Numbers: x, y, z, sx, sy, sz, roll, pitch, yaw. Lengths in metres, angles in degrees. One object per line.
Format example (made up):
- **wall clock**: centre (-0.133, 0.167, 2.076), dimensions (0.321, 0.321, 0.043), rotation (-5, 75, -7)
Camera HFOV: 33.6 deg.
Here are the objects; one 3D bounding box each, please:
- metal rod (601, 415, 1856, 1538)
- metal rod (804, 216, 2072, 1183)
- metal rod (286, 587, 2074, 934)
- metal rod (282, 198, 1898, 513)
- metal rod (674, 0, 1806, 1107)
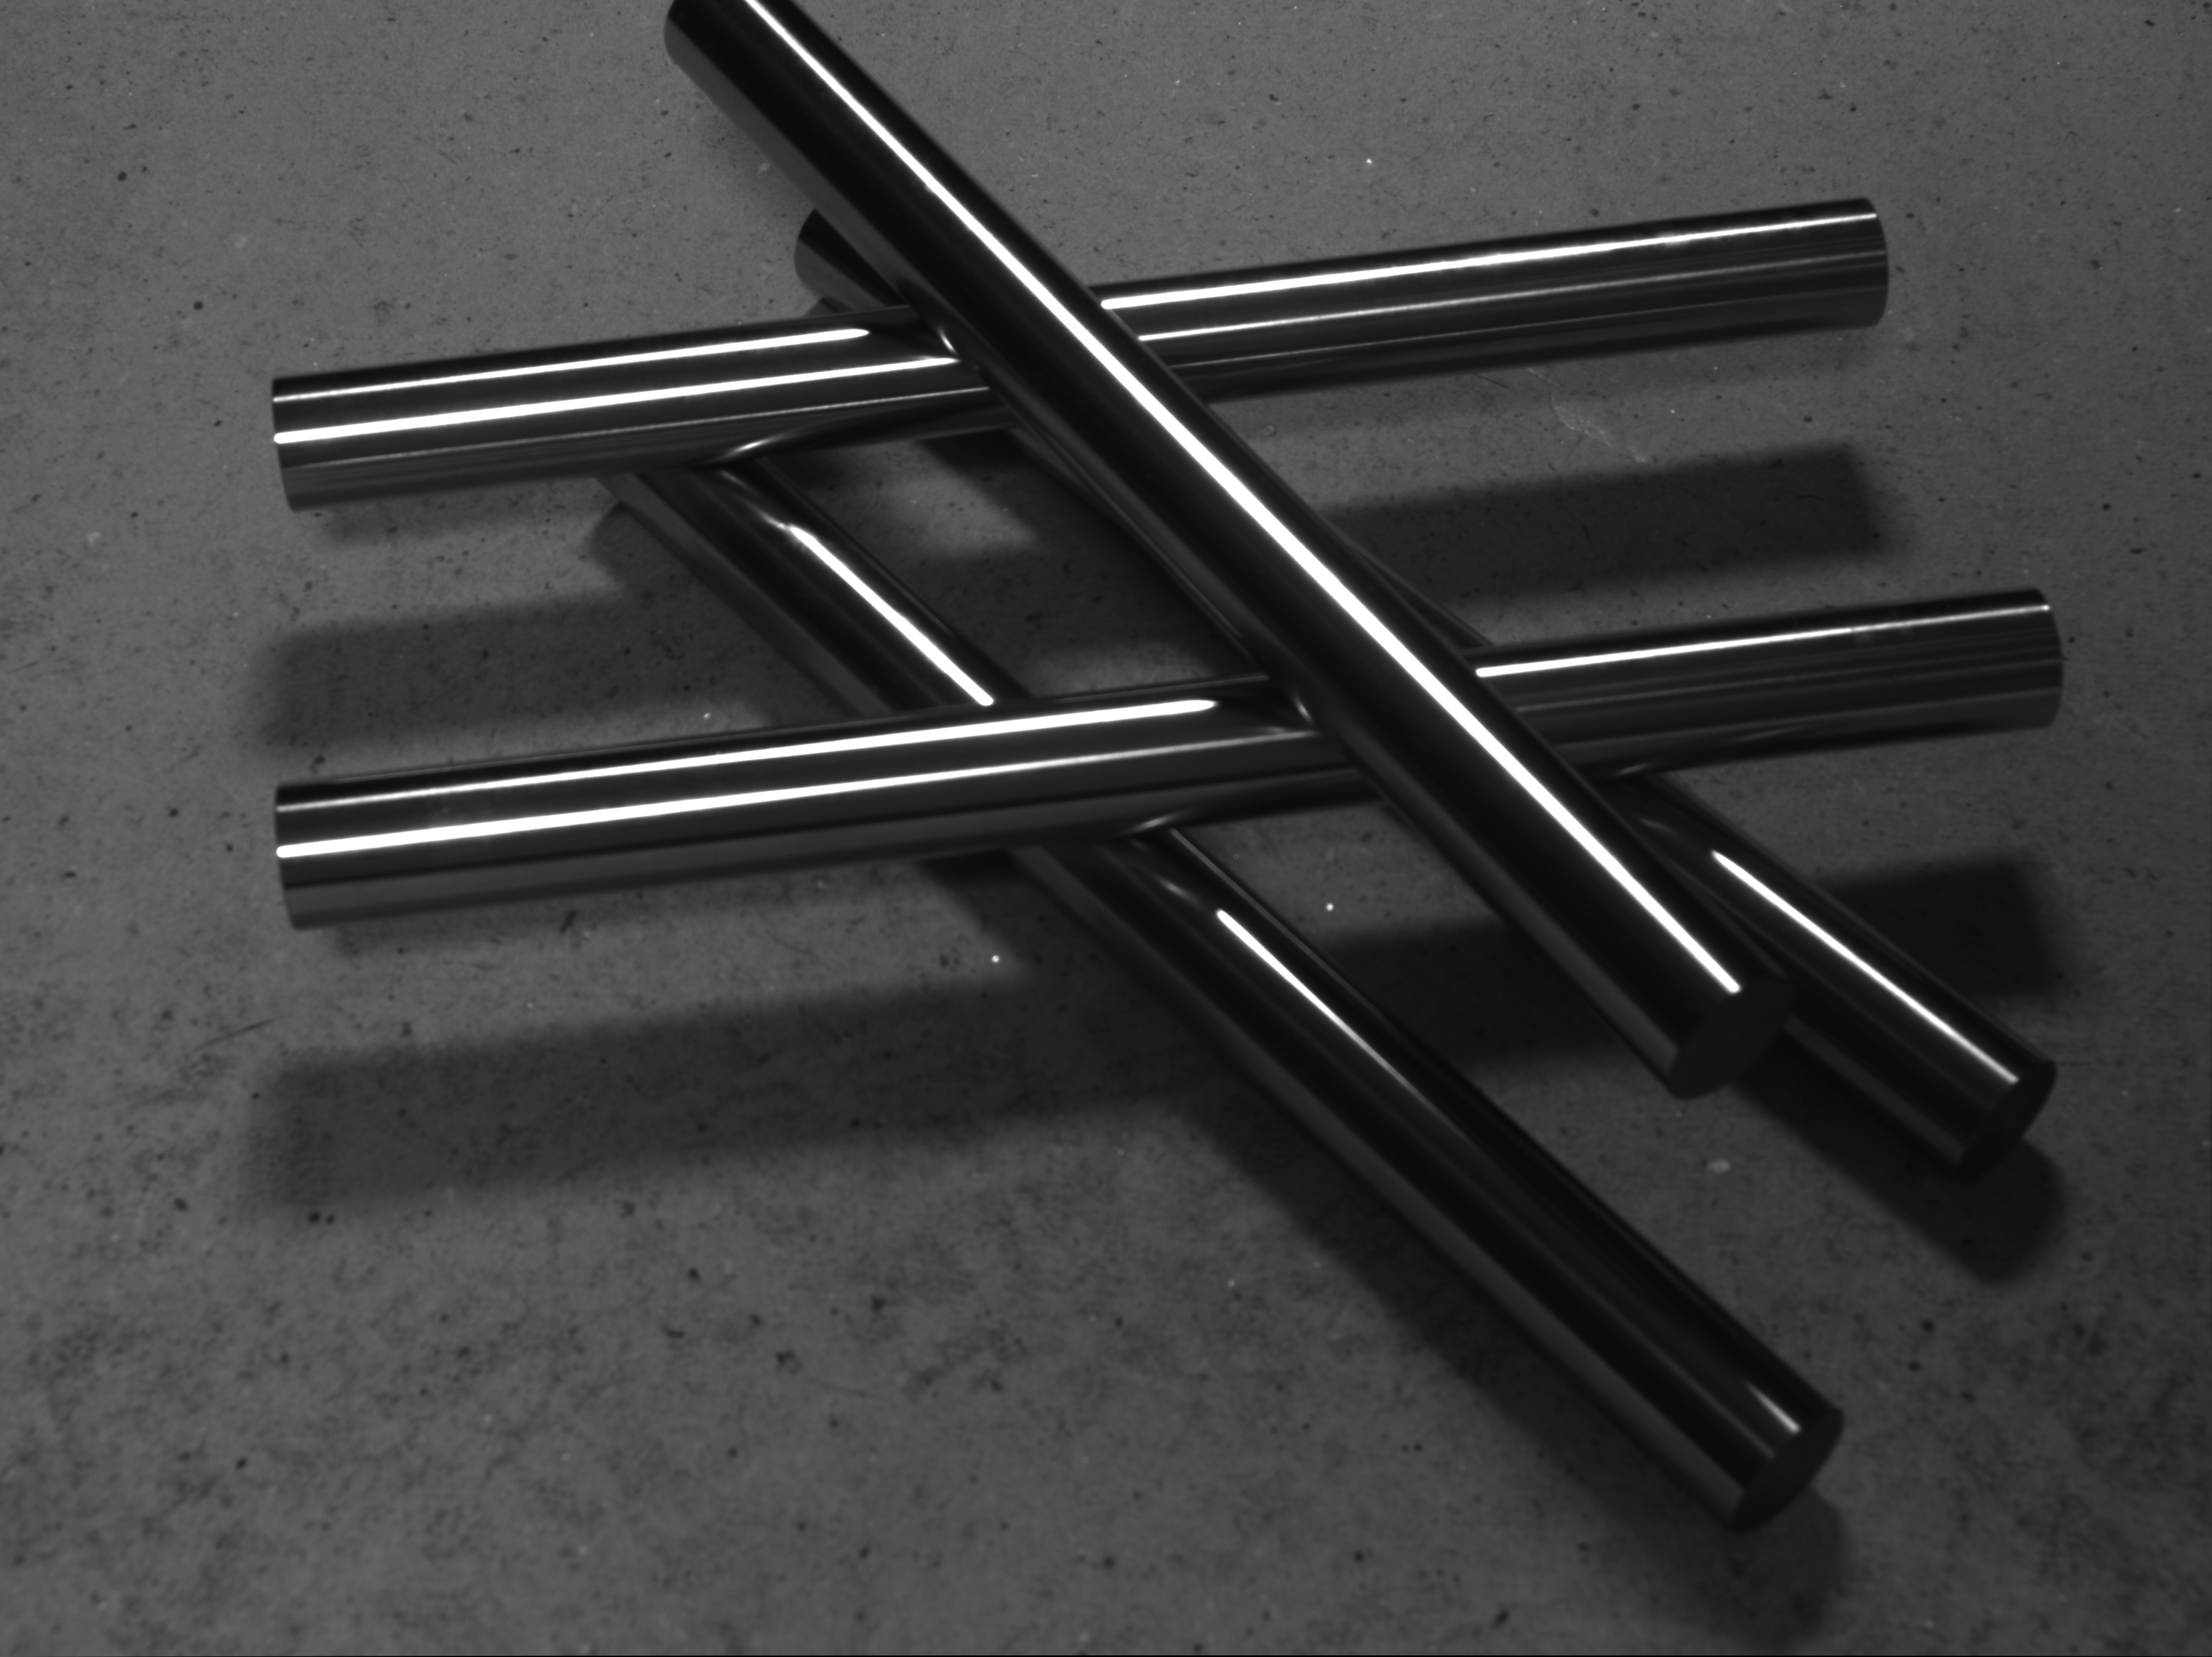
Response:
- **metal rod**: centre (0.009, 0.012, 0.632), dimensions (0.025, 0.025, 0.299), rotation (-33, 57, -25)
- **metal rod**: centre (0.049, -0.036, 0.672), dimensions (0.025, 0.025, 0.299), rotation (-35, 58, -26)
- **metal rod**: centre (0.015, -0.012, 0.620), dimensions (0.300, 0.025, 0.025), rotation (-7, 50, -6)
- **metal rod**: centre (0.000, -0.089, 0.685), dimensions (0.300, 0.025, 0.025), rotation (-7, 50, -6)
- **metal rod**: centre (0.011, -0.062, 0.630), dimensions (0.025, 0.025, 0.299), rotation (-28, 55, -21)
